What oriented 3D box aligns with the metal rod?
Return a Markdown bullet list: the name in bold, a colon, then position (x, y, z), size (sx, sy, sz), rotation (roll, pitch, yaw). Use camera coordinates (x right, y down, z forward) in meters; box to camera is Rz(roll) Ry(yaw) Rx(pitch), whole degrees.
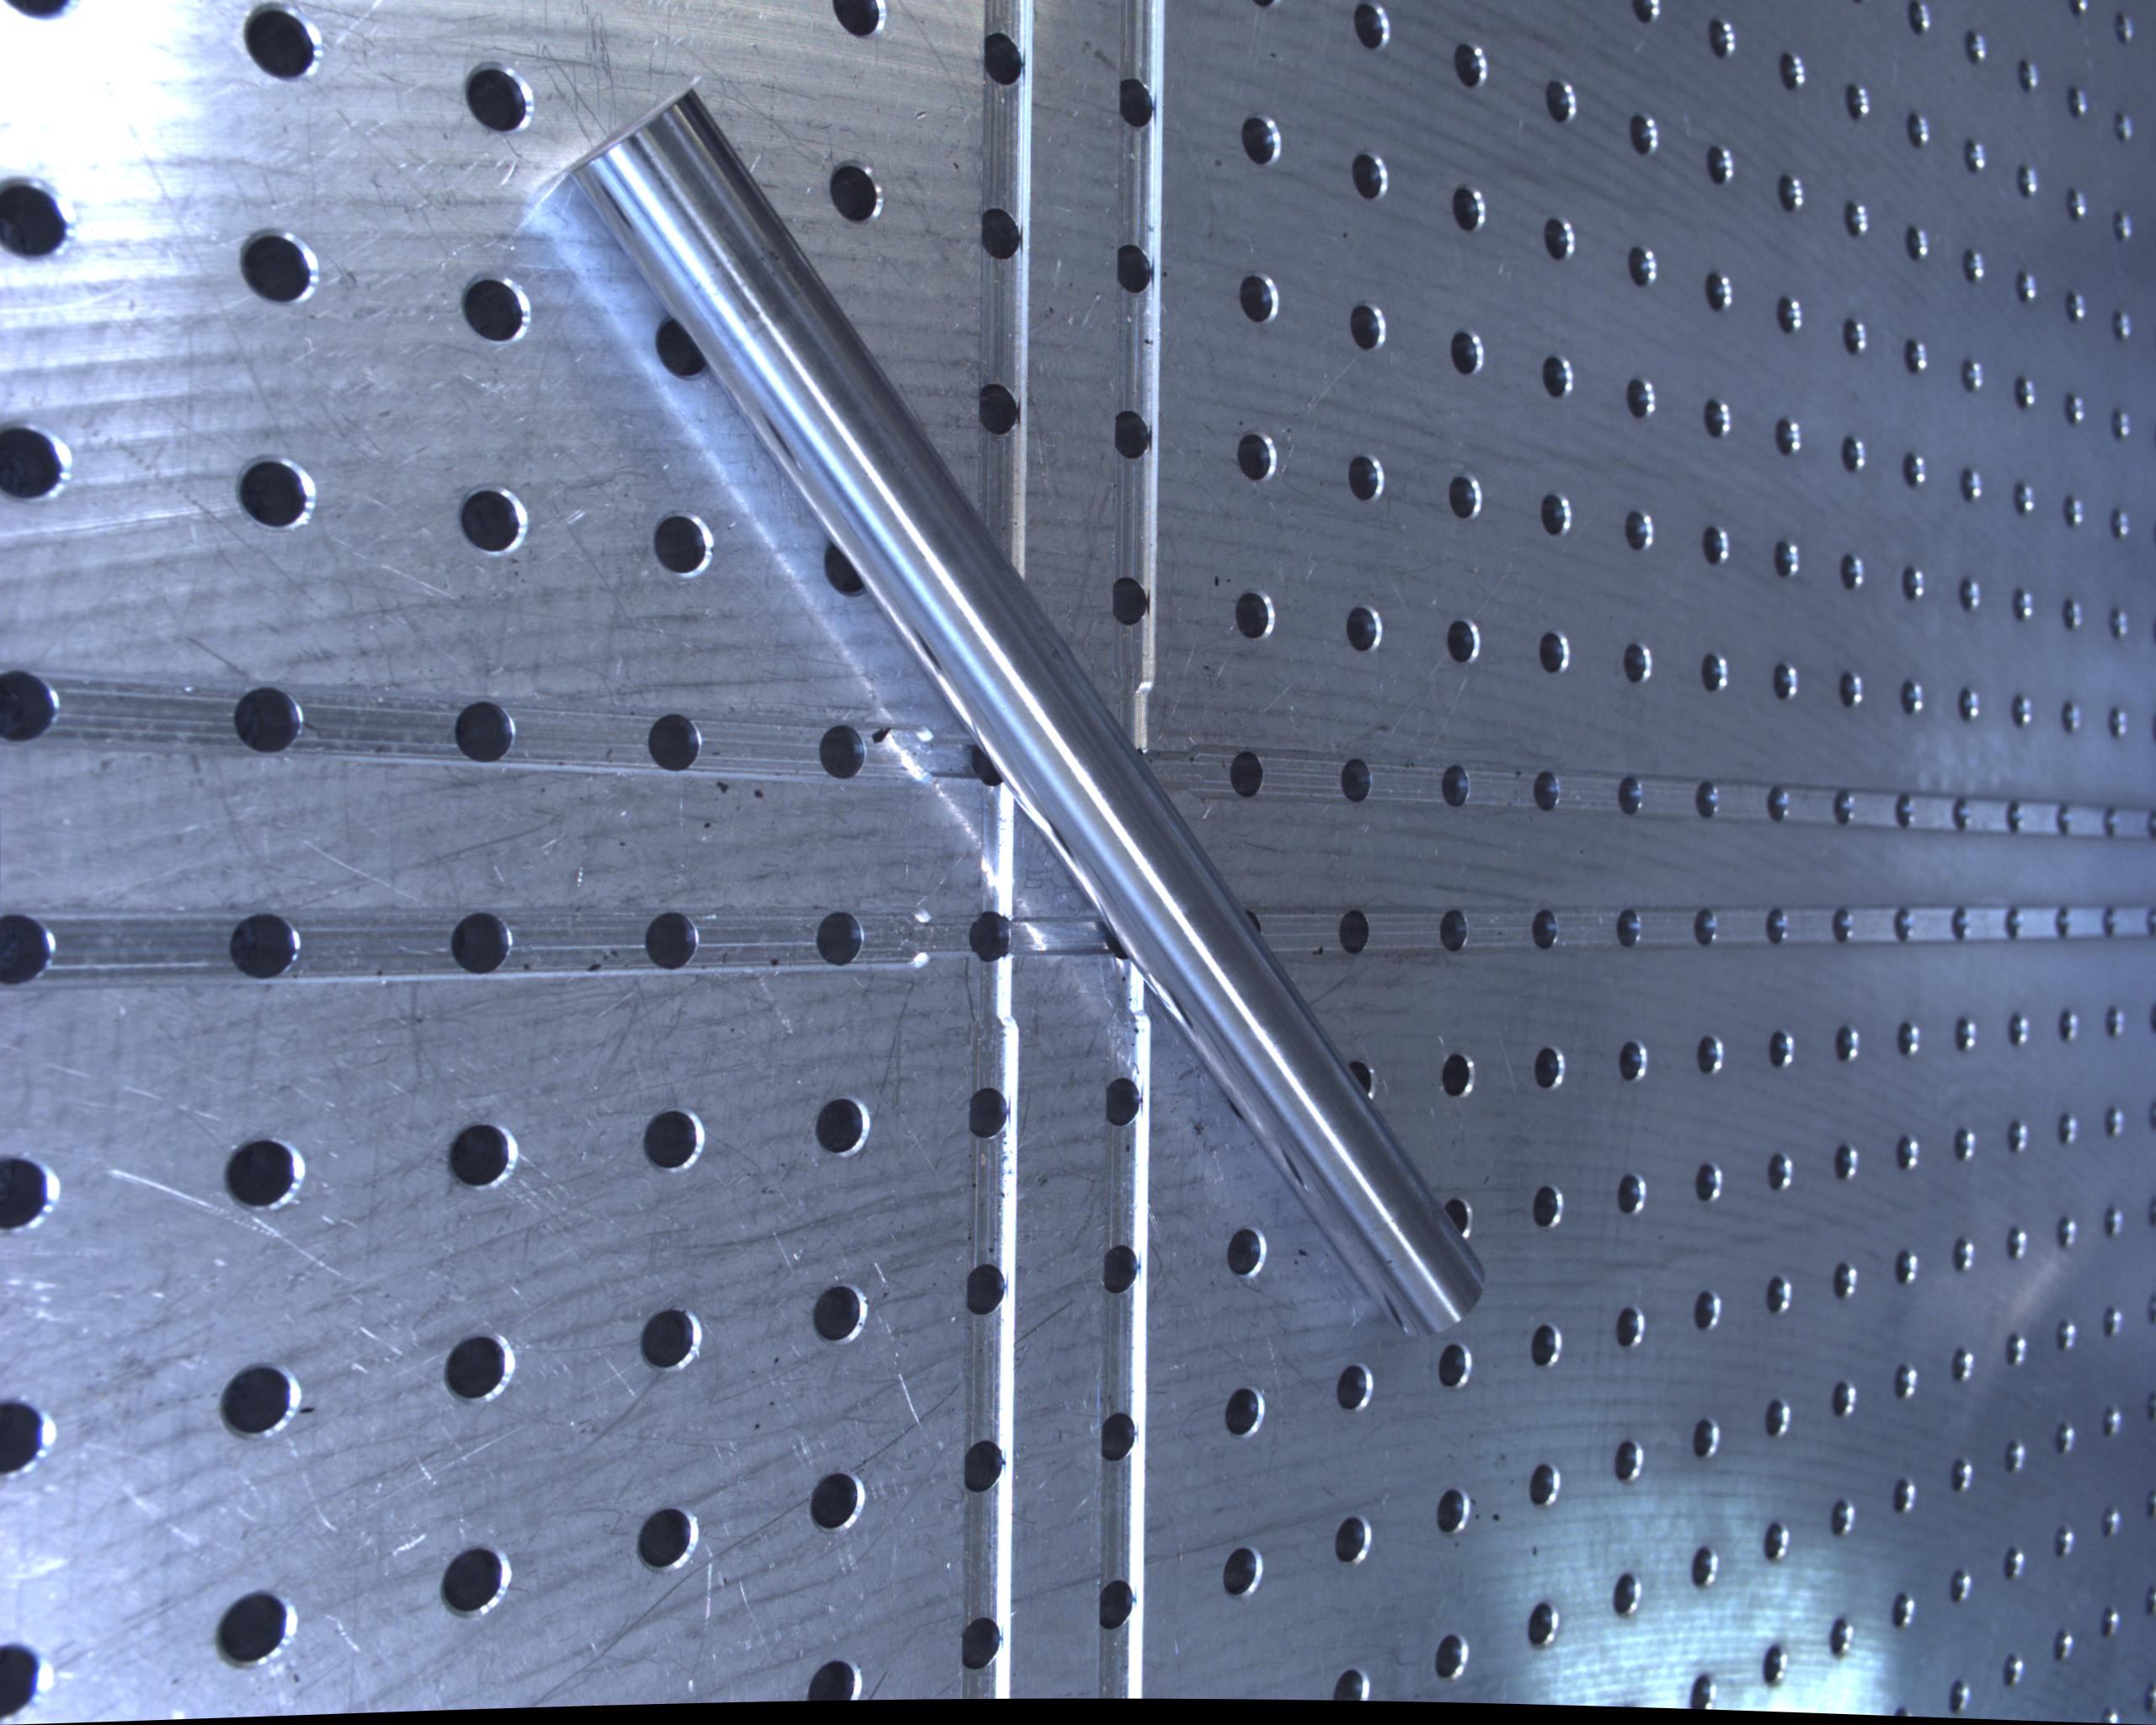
- **metal rod**: position (0.004, -0.012, 0.411), size (0.025, 0.025, 0.300), rotation (-50, 120, -28)
